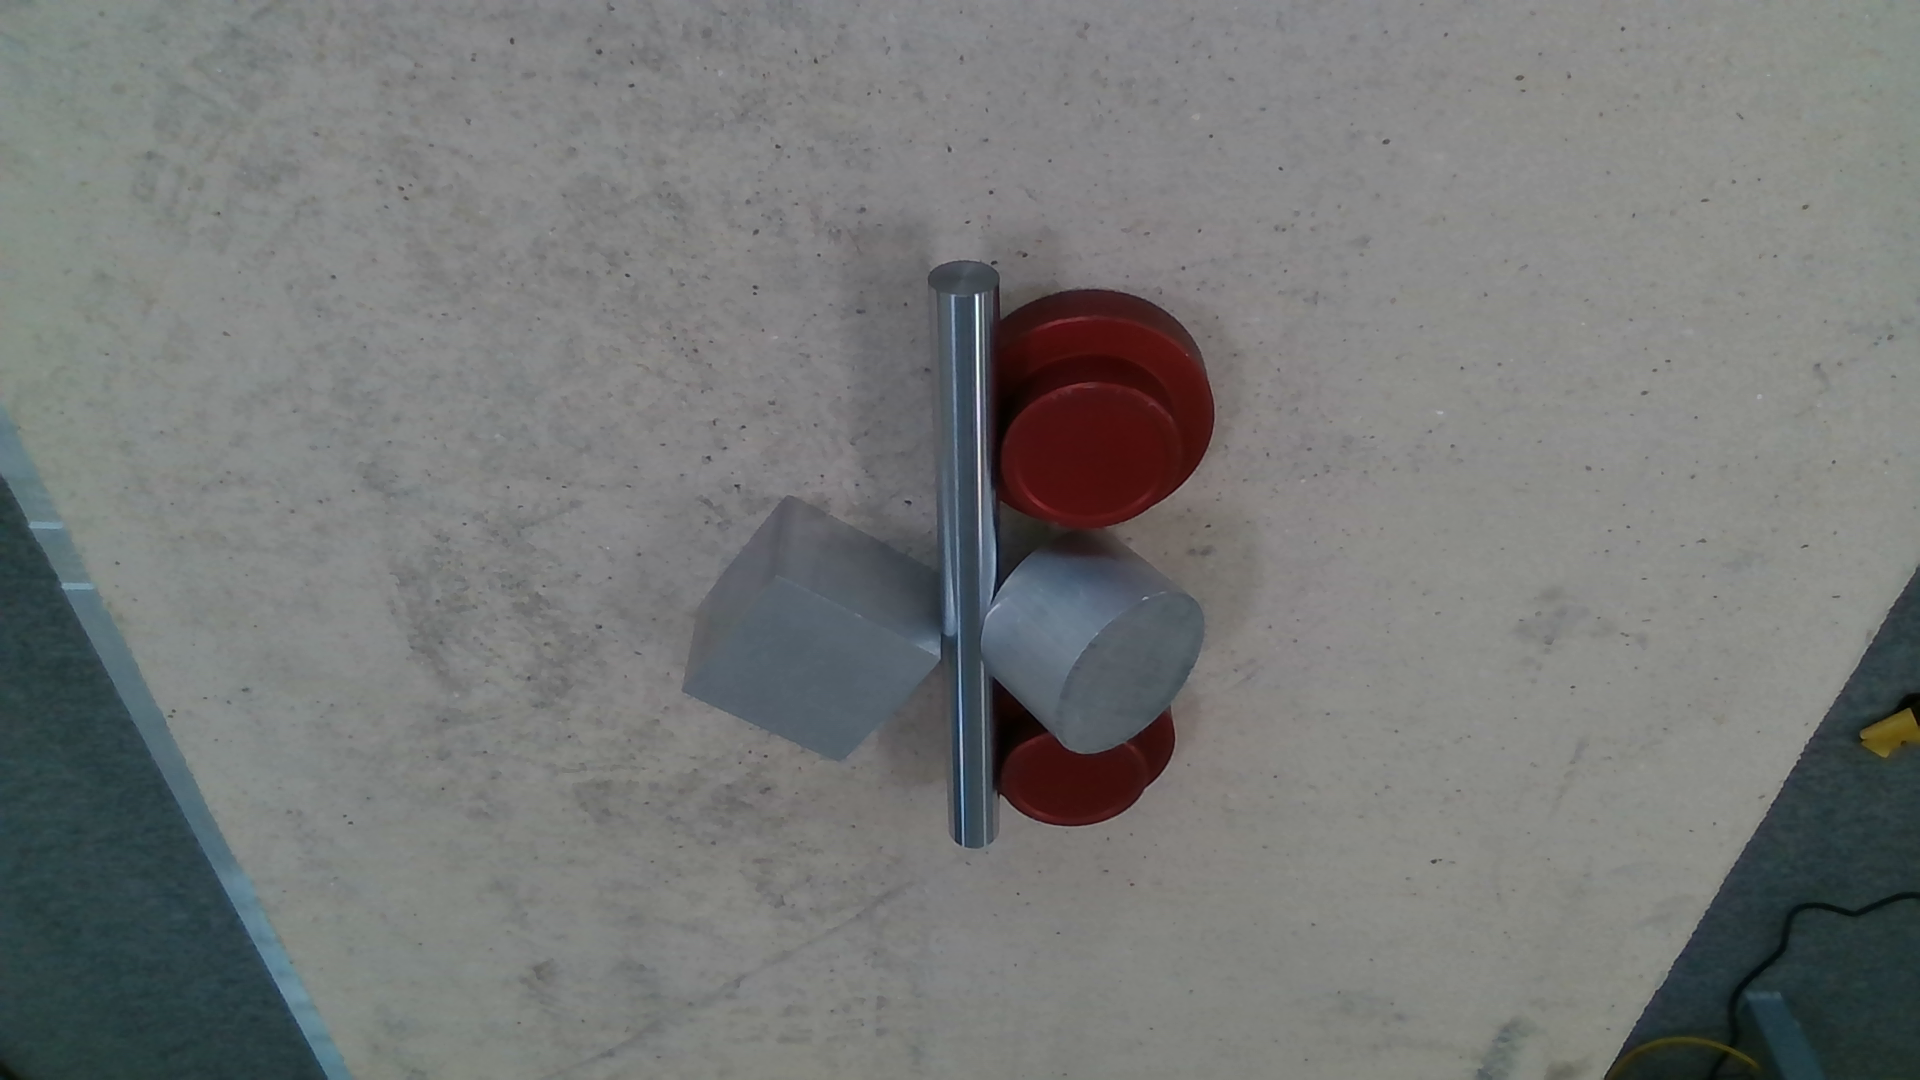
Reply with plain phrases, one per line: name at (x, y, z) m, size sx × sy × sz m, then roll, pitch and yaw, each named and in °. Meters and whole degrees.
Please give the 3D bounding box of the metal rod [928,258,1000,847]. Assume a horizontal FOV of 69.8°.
metal rod at (0.004, 0.024, 0.572) m, size 0.025 × 0.025 × 0.301 m, roll -1°, pitch 130°, yaw 1°

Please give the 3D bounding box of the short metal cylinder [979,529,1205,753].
short metal cylinder at (0.055, 0.041, 0.574) m, size 0.080 × 0.050 × 0.080 m, roll -24°, pitch 135°, yaw -27°

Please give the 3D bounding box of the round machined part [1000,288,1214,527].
round machined part at (0.049, -0.044, 0.531) m, size 0.098 × 0.042 × 0.098 m, roll 0°, pitch 130°, yaw 0°

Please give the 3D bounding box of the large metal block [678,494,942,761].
large metal block at (-0.063, 0.040, 0.594) m, size 0.080 × 0.050 × 0.080 m, roll 28°, pitch 125°, yaw -22°

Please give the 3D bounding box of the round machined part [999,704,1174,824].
round machined part at (0.052, 0.097, 0.650) m, size 0.098 × 0.042 × 0.098 m, roll 0°, pitch 130°, yaw 0°
